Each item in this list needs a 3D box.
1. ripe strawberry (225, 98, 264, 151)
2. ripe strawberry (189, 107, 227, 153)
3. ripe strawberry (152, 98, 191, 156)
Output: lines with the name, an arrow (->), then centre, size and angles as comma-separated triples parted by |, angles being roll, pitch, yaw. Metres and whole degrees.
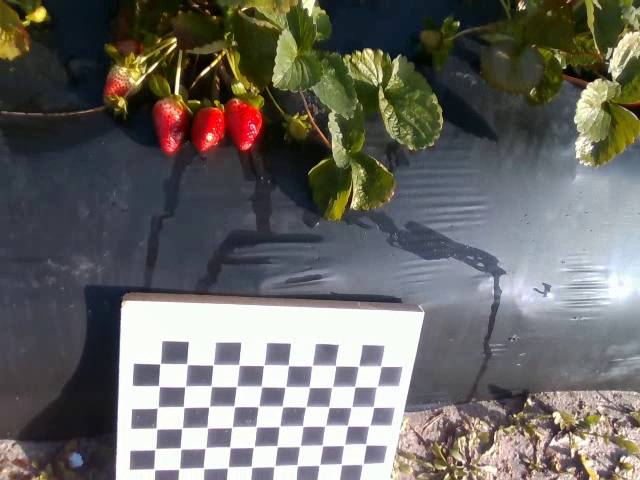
ripe strawberry -> -0.062, -0.086, 0.479 | 0.035, 0.041, 0.034 | -1, -33, -9
ripe strawberry -> -0.089, -0.087, 0.470 | 0.030, 0.037, 0.039 | 13, 41, -13
ripe strawberry -> -0.118, -0.090, 0.472 | 0.031, 0.046, 0.023 | 3, 3, -10
